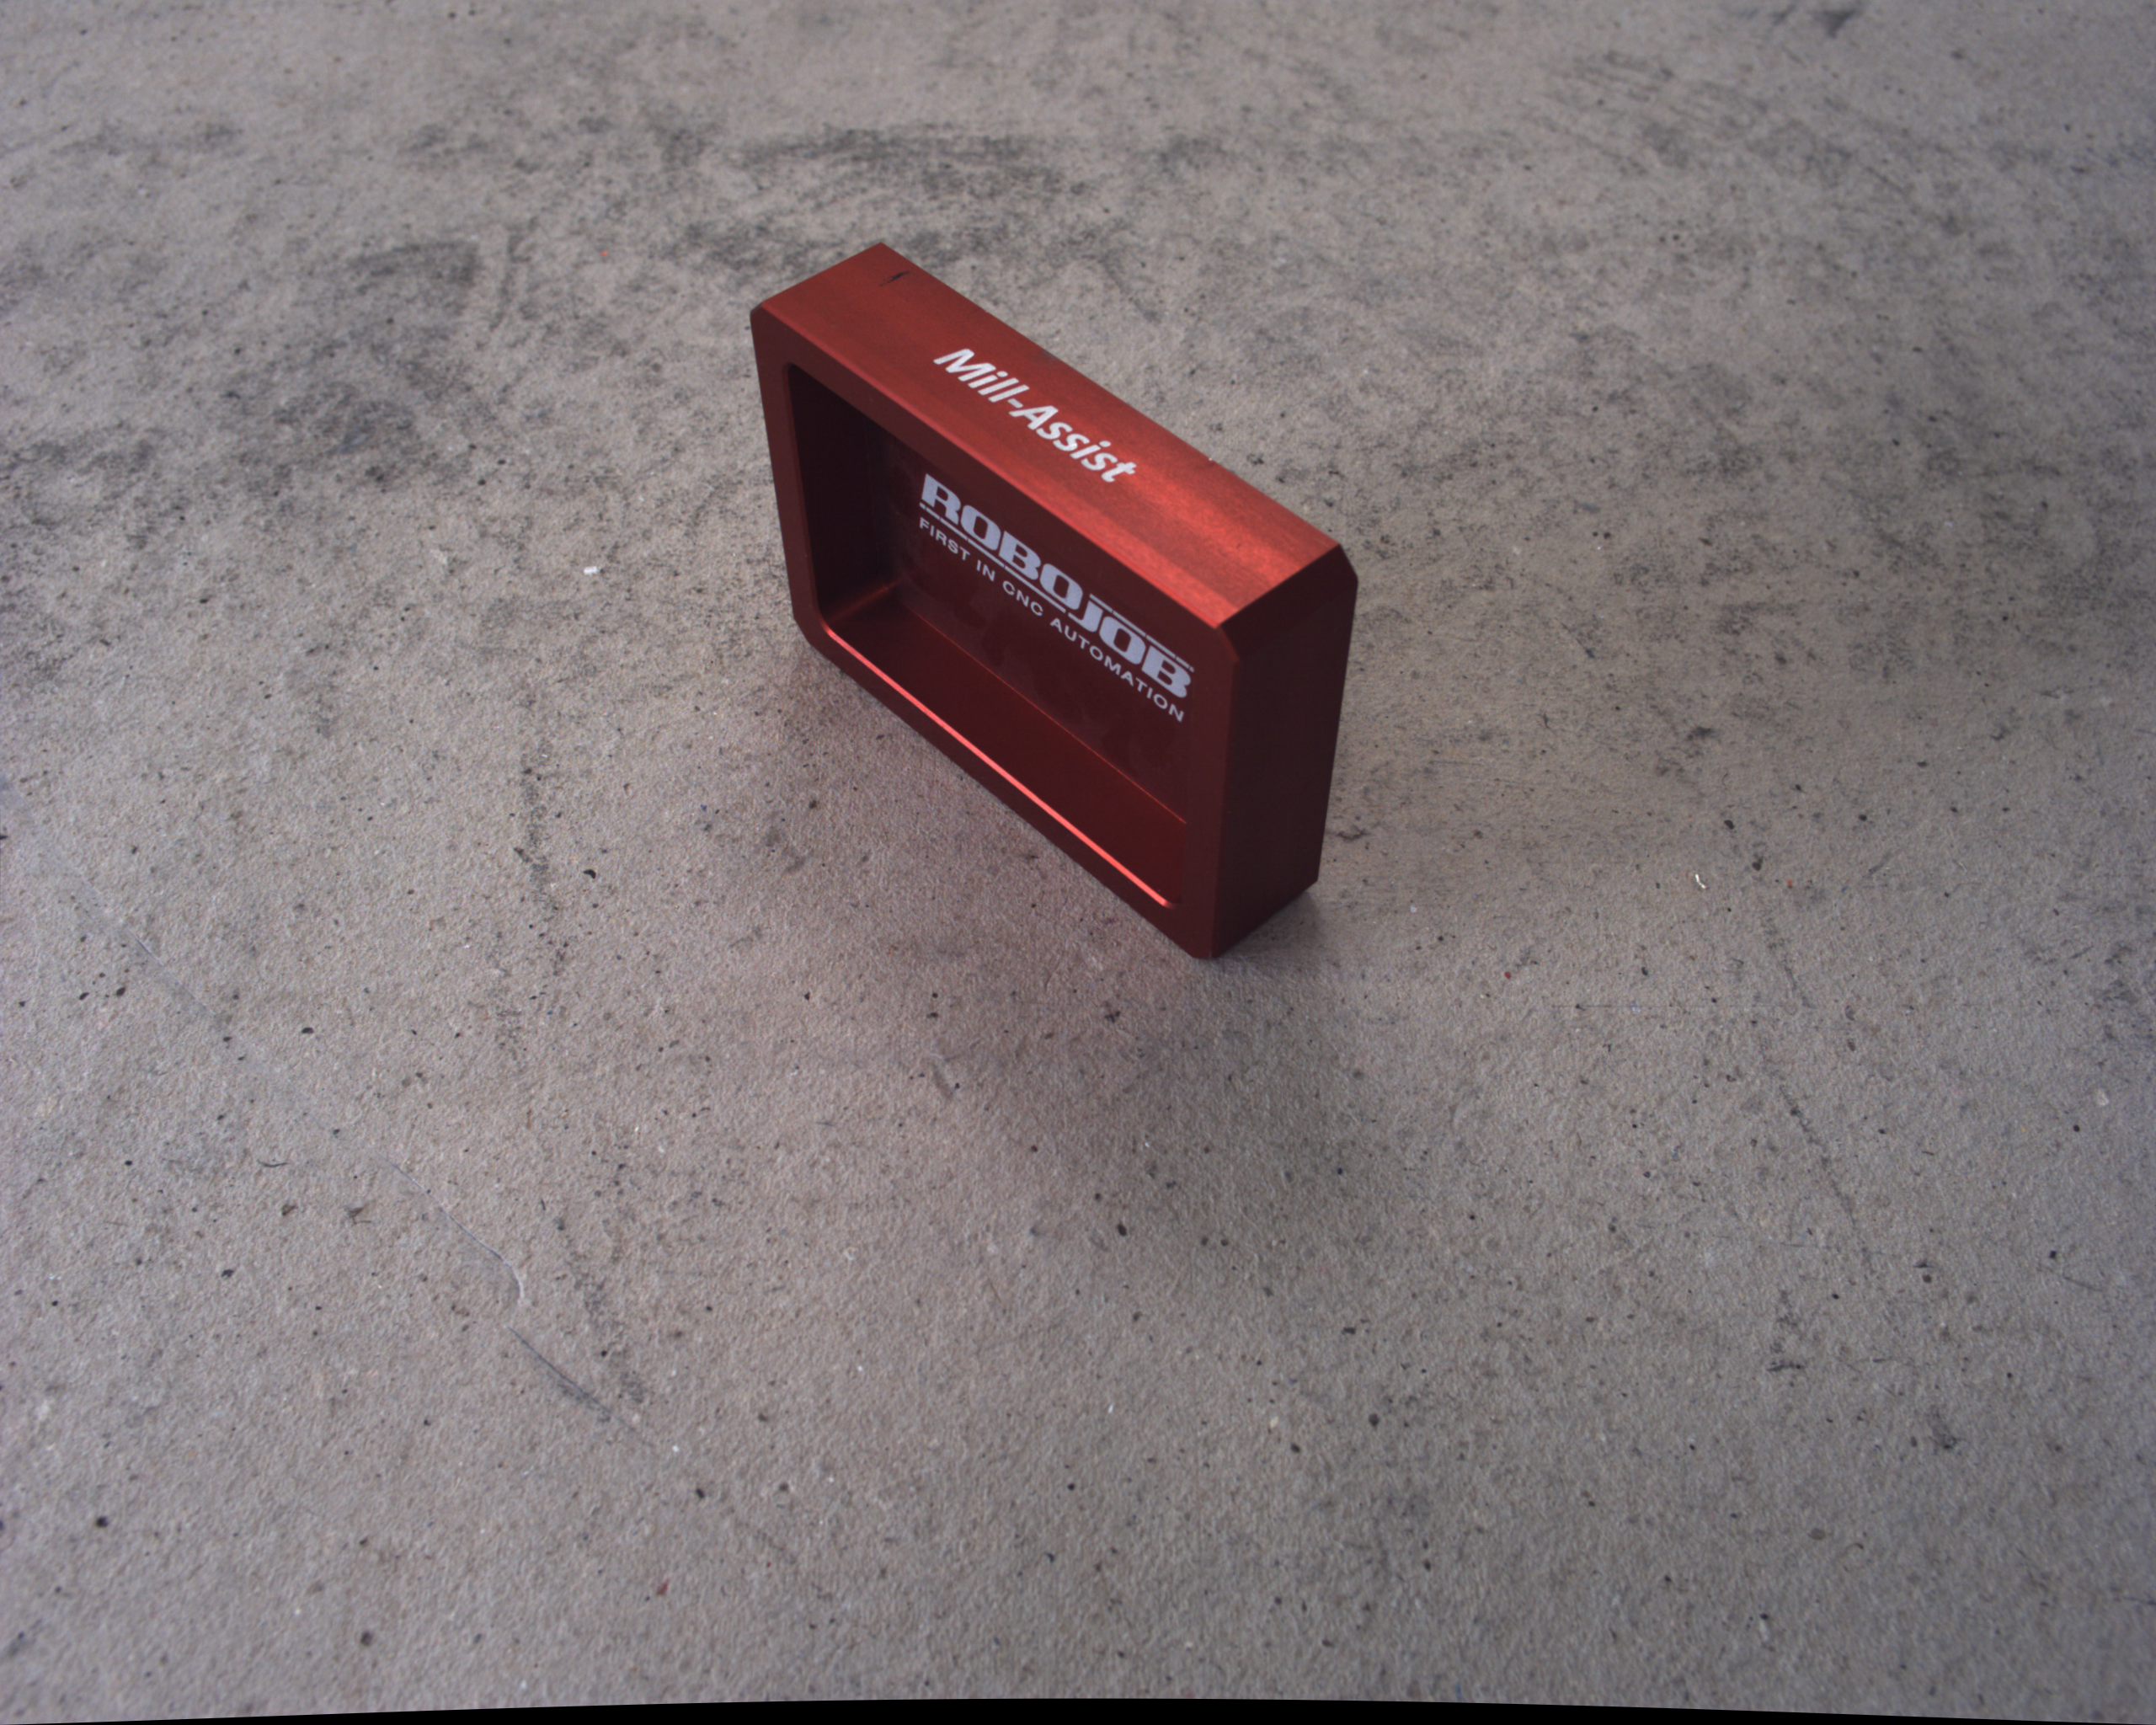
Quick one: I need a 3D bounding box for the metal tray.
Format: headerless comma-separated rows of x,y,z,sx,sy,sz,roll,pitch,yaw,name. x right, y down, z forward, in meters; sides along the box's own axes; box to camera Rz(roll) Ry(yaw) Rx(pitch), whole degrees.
-0.008,-0.051,0.405,0.030,0.090,0.130,-36,59,-26,metal tray
